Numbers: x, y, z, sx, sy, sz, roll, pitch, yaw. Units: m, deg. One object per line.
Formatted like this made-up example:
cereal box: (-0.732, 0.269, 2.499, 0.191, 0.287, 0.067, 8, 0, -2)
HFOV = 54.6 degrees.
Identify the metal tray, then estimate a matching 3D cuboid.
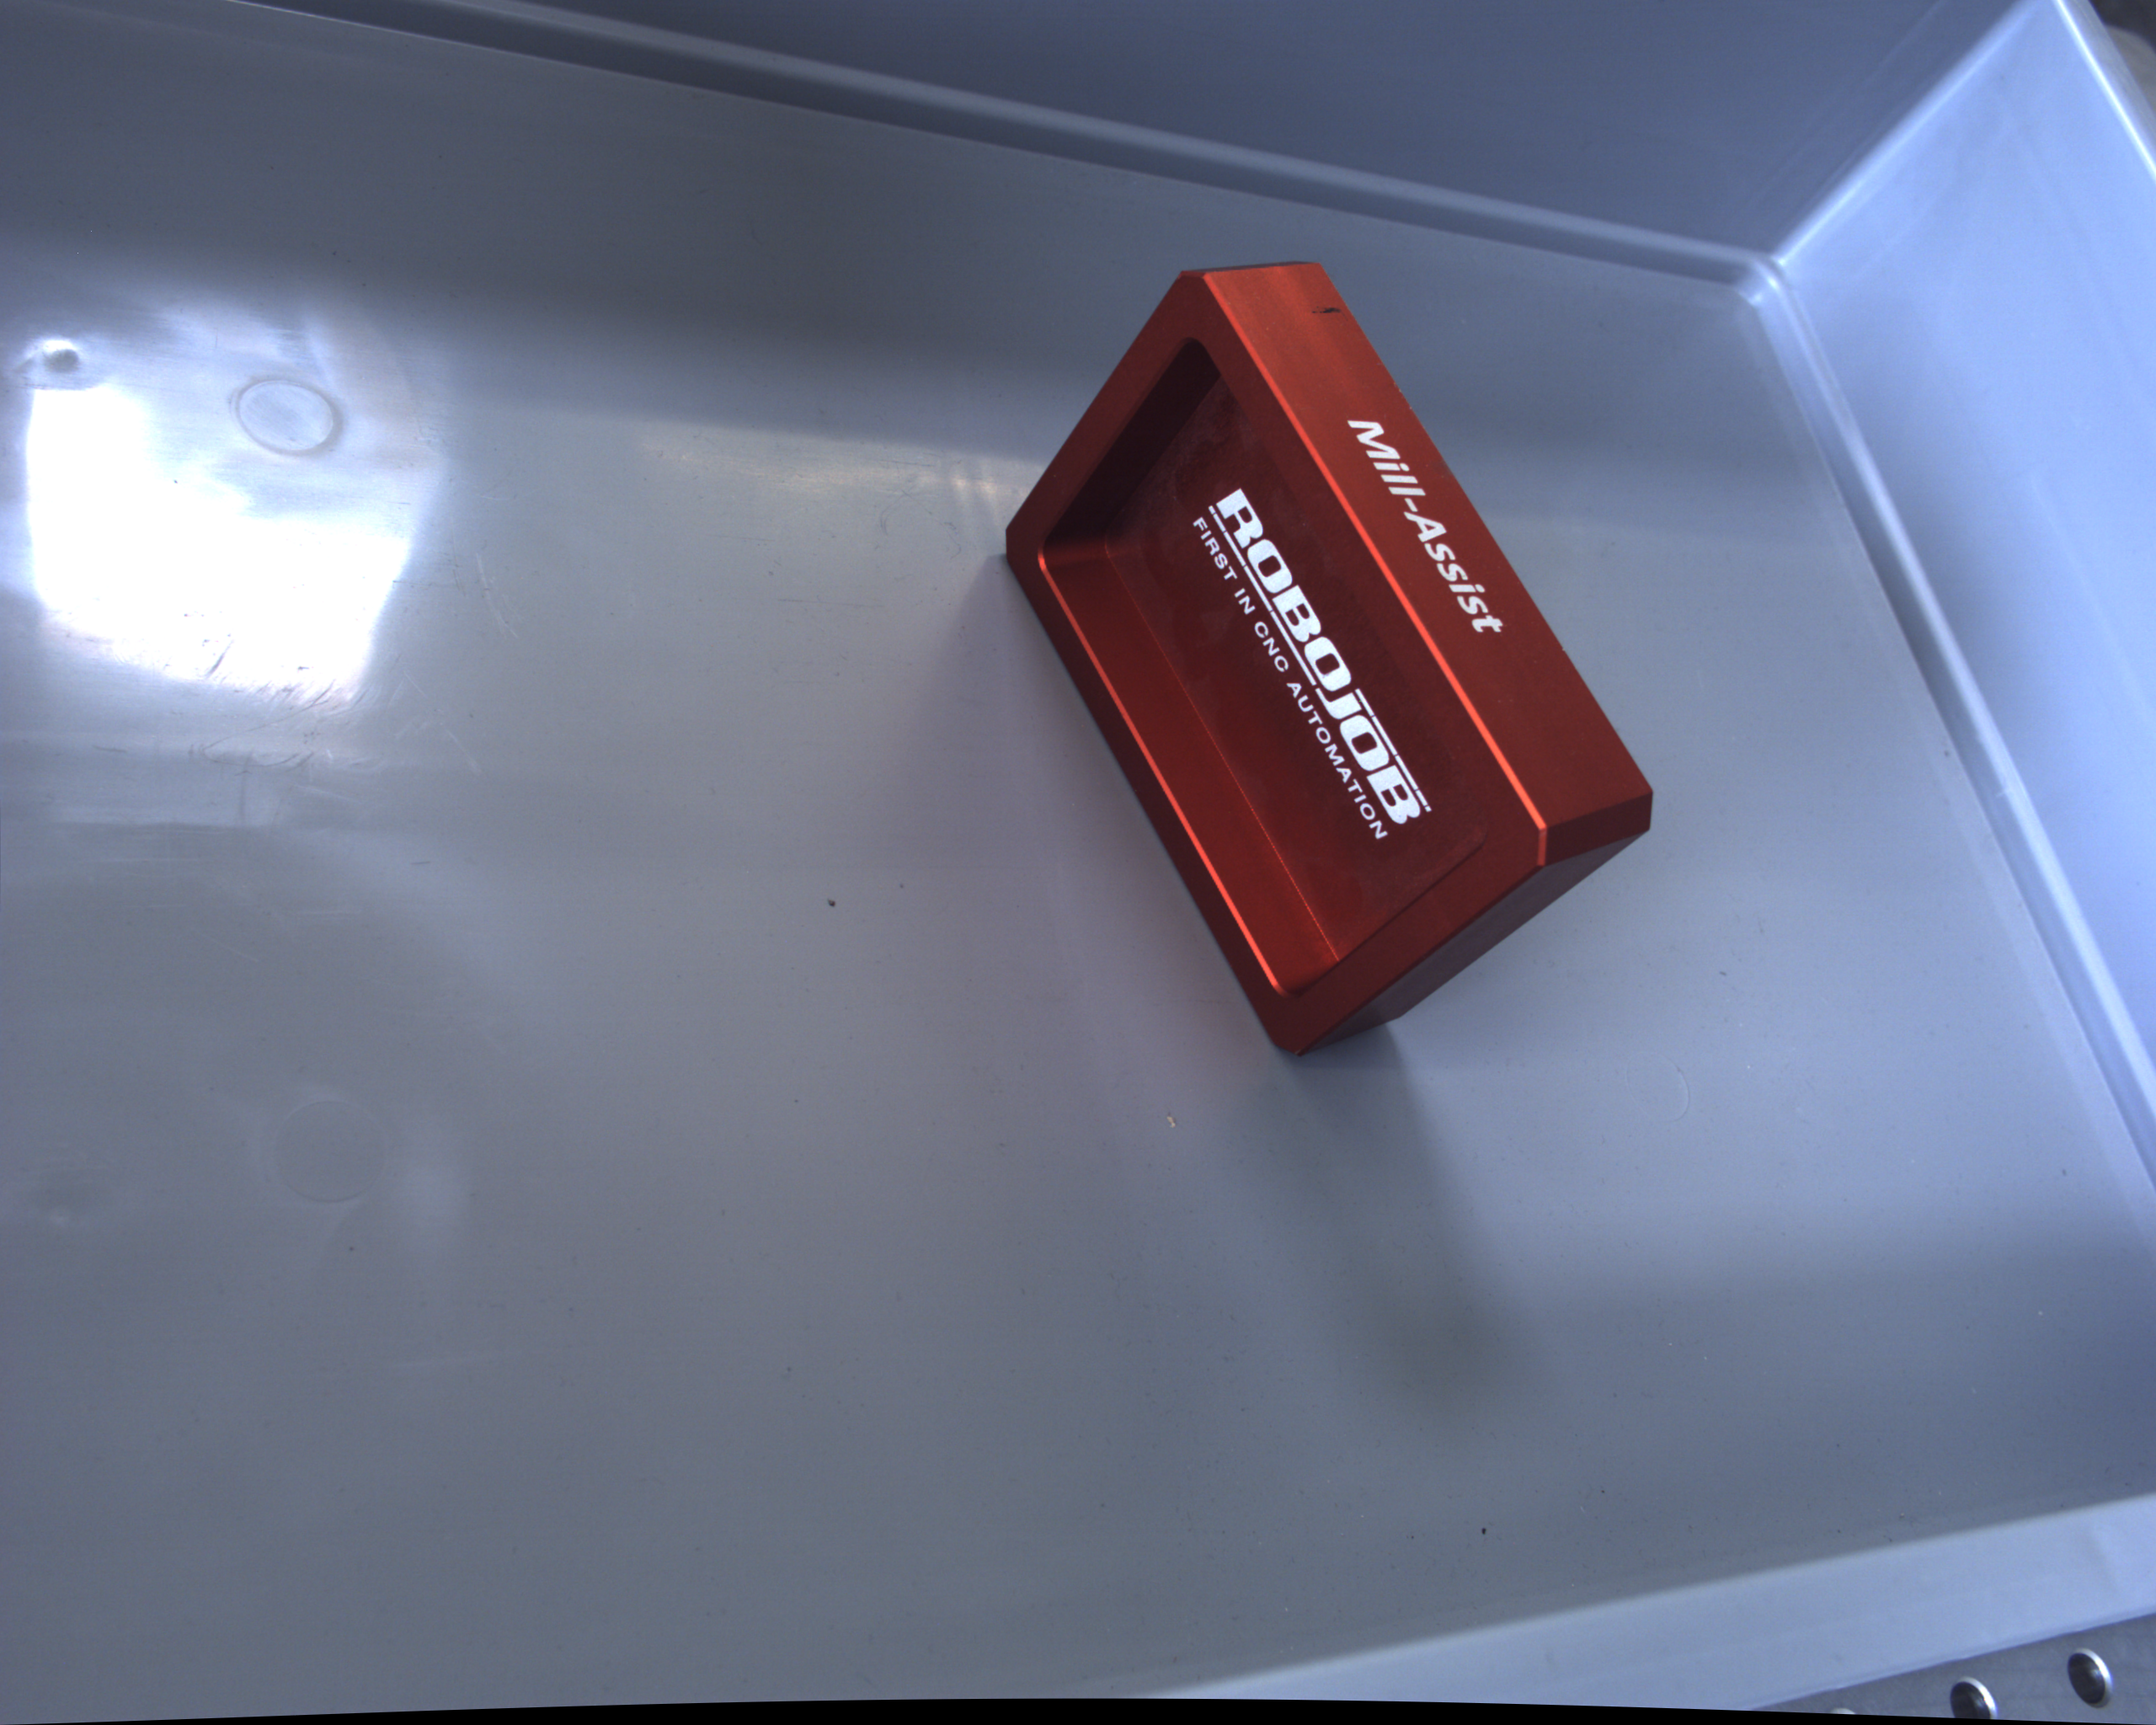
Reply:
metal tray: (0.043, -0.039, 0.406, 0.030, 0.090, 0.130, -17, 71, -36)
